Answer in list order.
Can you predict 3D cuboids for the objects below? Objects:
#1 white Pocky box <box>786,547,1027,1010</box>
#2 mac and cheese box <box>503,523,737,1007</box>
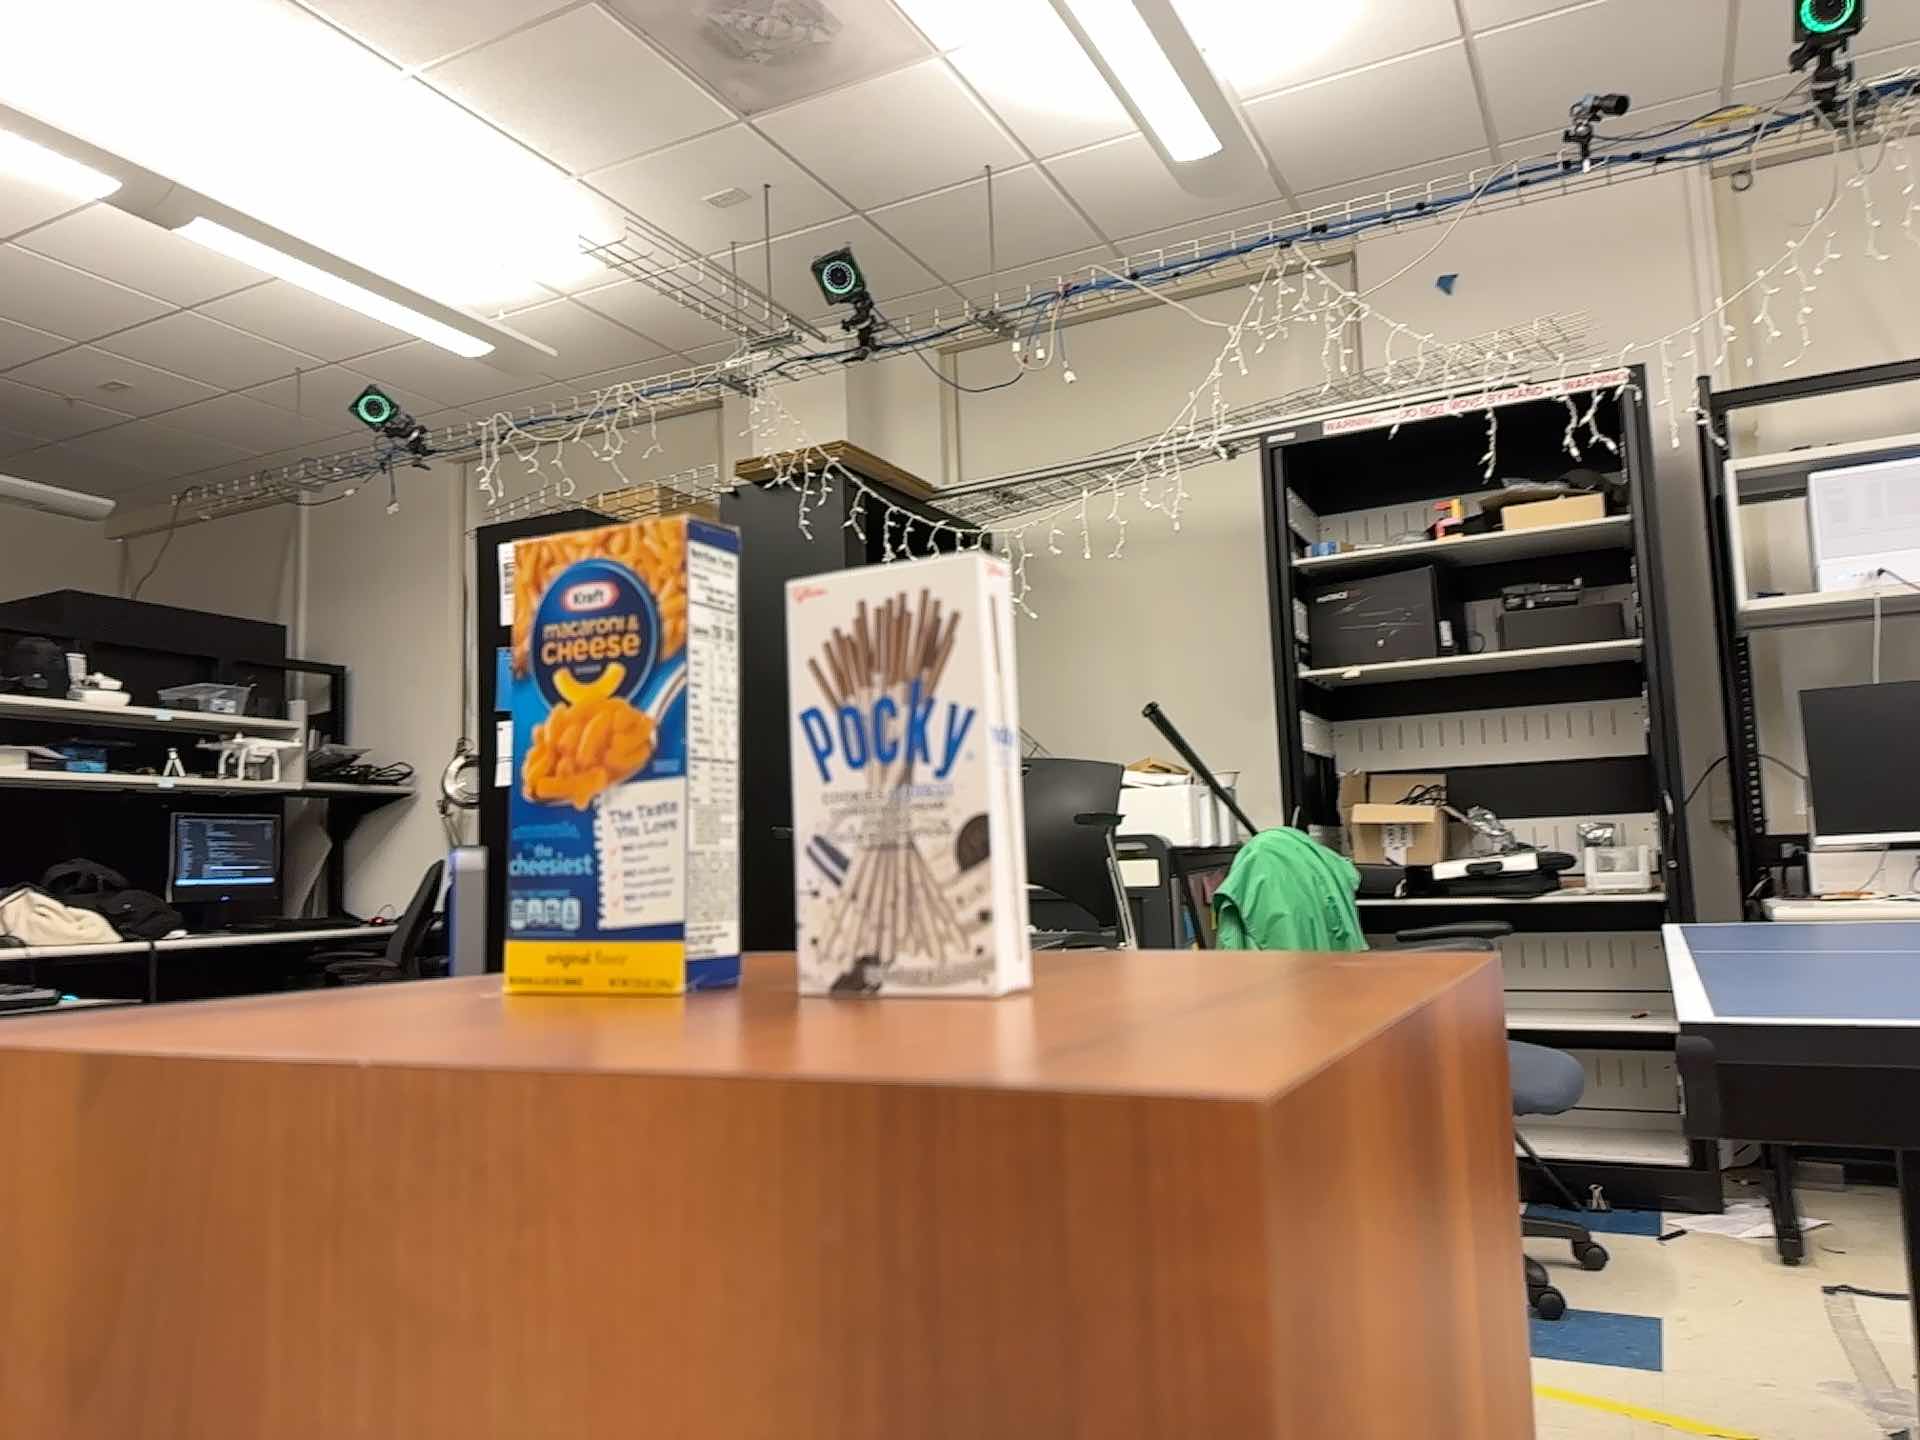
[{"bbox_3d":[-0.021,0.022,0.472,0.084,0.154,0.028,-7,-10,32],"label":"white Pocky box"},{"bbox_3d":[-0.136,0.020,0.541,0.088,0.181,0.035,-8,-11,30],"label":"mac and cheese box"}]
